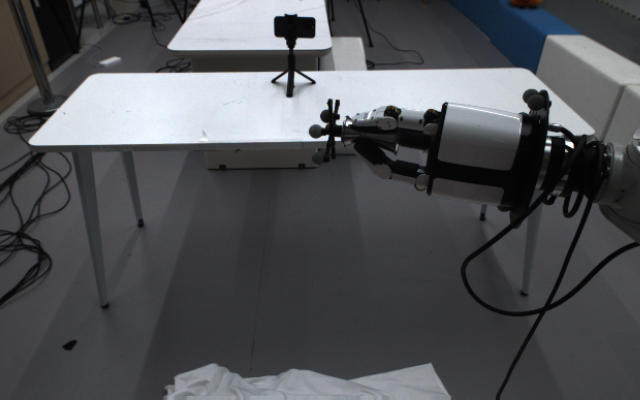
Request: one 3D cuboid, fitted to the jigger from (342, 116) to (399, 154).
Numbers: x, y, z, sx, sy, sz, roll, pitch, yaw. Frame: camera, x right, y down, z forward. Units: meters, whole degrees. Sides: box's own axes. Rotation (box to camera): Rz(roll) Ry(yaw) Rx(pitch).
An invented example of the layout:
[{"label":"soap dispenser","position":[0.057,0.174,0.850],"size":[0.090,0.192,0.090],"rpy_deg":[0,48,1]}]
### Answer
[{"label":"jigger","position":[0.071,-0.087,0.602],"size":[0.071,0.043,0.043],"rpy_deg":[8,35,14]}]
